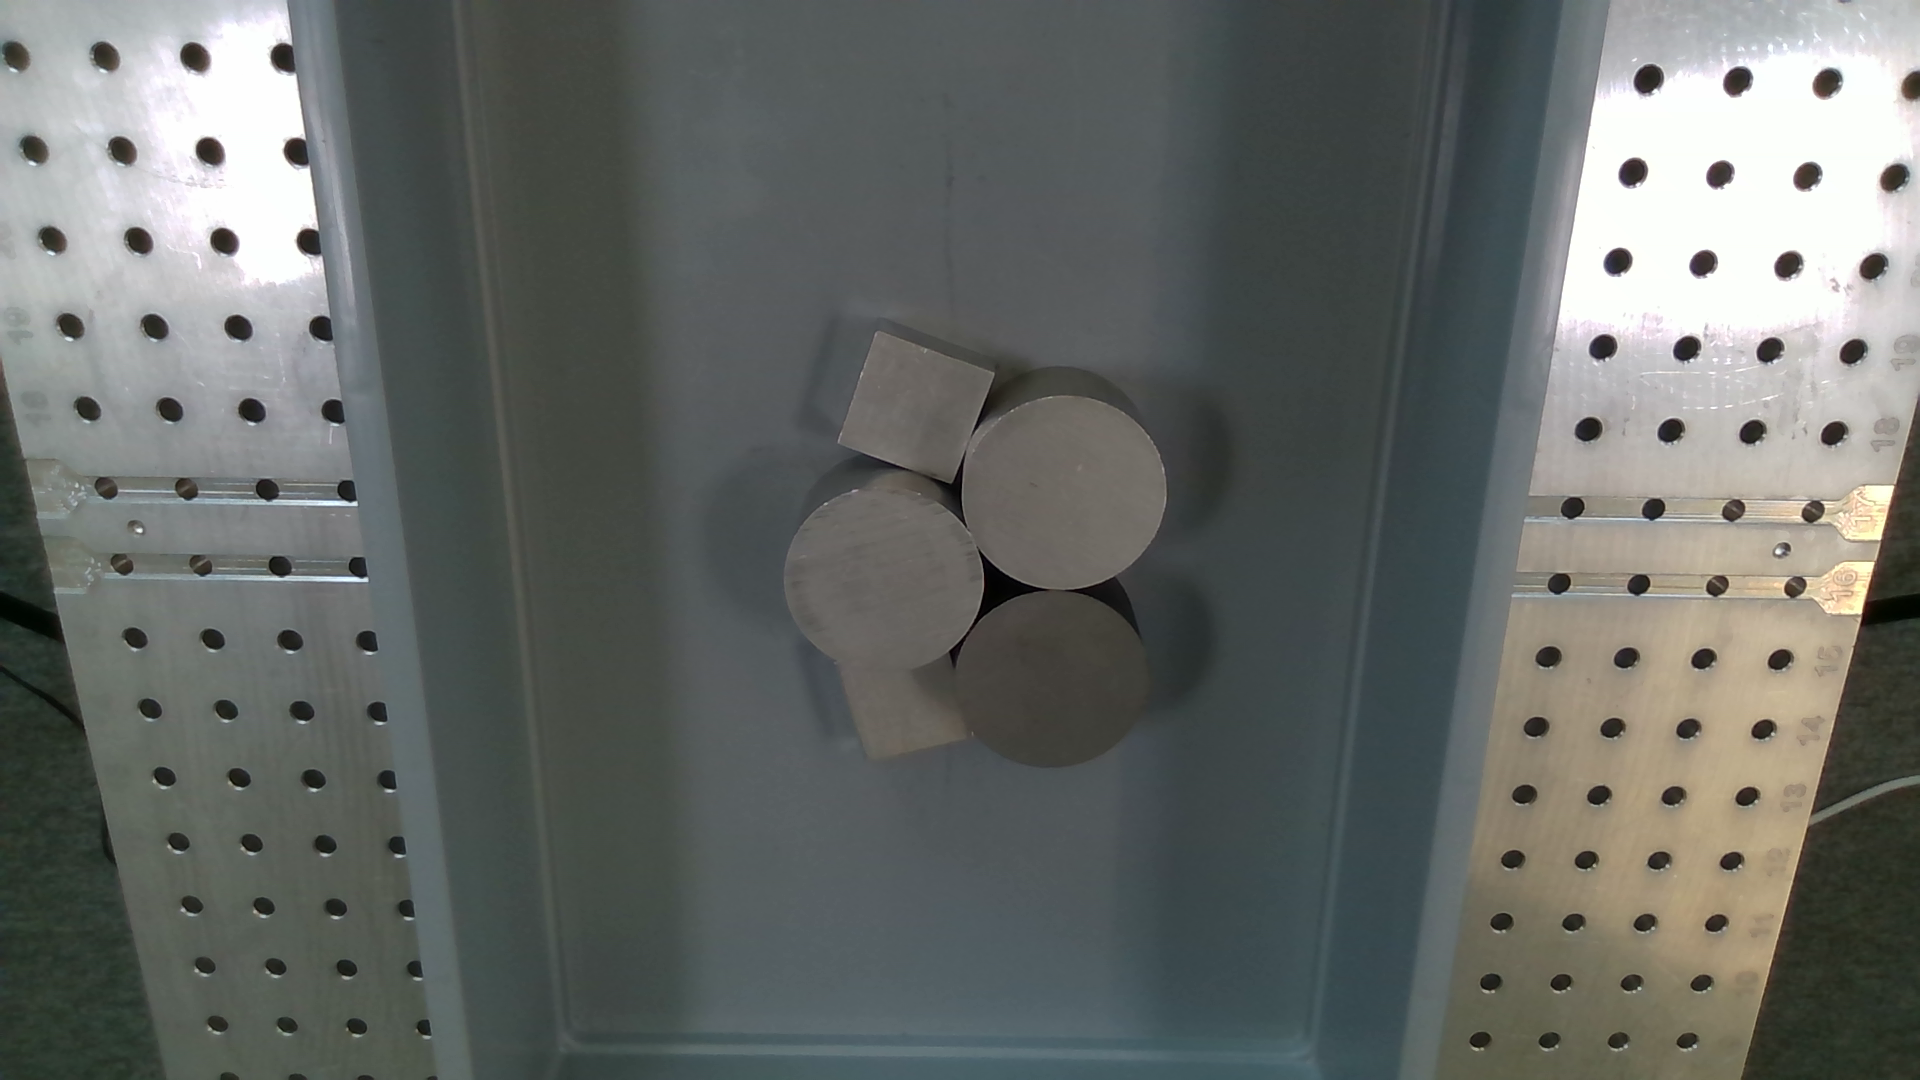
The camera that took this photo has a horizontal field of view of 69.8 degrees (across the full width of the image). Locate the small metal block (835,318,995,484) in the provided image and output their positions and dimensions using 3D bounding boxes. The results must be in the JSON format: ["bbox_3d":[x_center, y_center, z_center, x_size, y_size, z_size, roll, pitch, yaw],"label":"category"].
[{"bbox_3d":[-0.018,-0.057,0.563,0.050,0.025,0.050,20,109,-7],"label":"small metal block"}]

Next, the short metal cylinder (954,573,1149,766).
[{"bbox_3d":[0.038,0.049,0.589,0.080,0.050,0.080,0,110,0],"label":"short metal cylinder"}]

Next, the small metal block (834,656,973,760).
[{"bbox_3d":[-0.024,0.064,0.608,0.050,0.025,0.050,-13,110,5],"label":"small metal block"}]

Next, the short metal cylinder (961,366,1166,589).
[{"bbox_3d":[0.040,-0.026,0.561,0.080,0.050,0.080,0,110,0],"label":"short metal cylinder"}]

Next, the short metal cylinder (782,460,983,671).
[{"bbox_3d":[-0.031,0.008,0.573,0.080,0.050,0.080,0,110,0],"label":"short metal cylinder"}]
